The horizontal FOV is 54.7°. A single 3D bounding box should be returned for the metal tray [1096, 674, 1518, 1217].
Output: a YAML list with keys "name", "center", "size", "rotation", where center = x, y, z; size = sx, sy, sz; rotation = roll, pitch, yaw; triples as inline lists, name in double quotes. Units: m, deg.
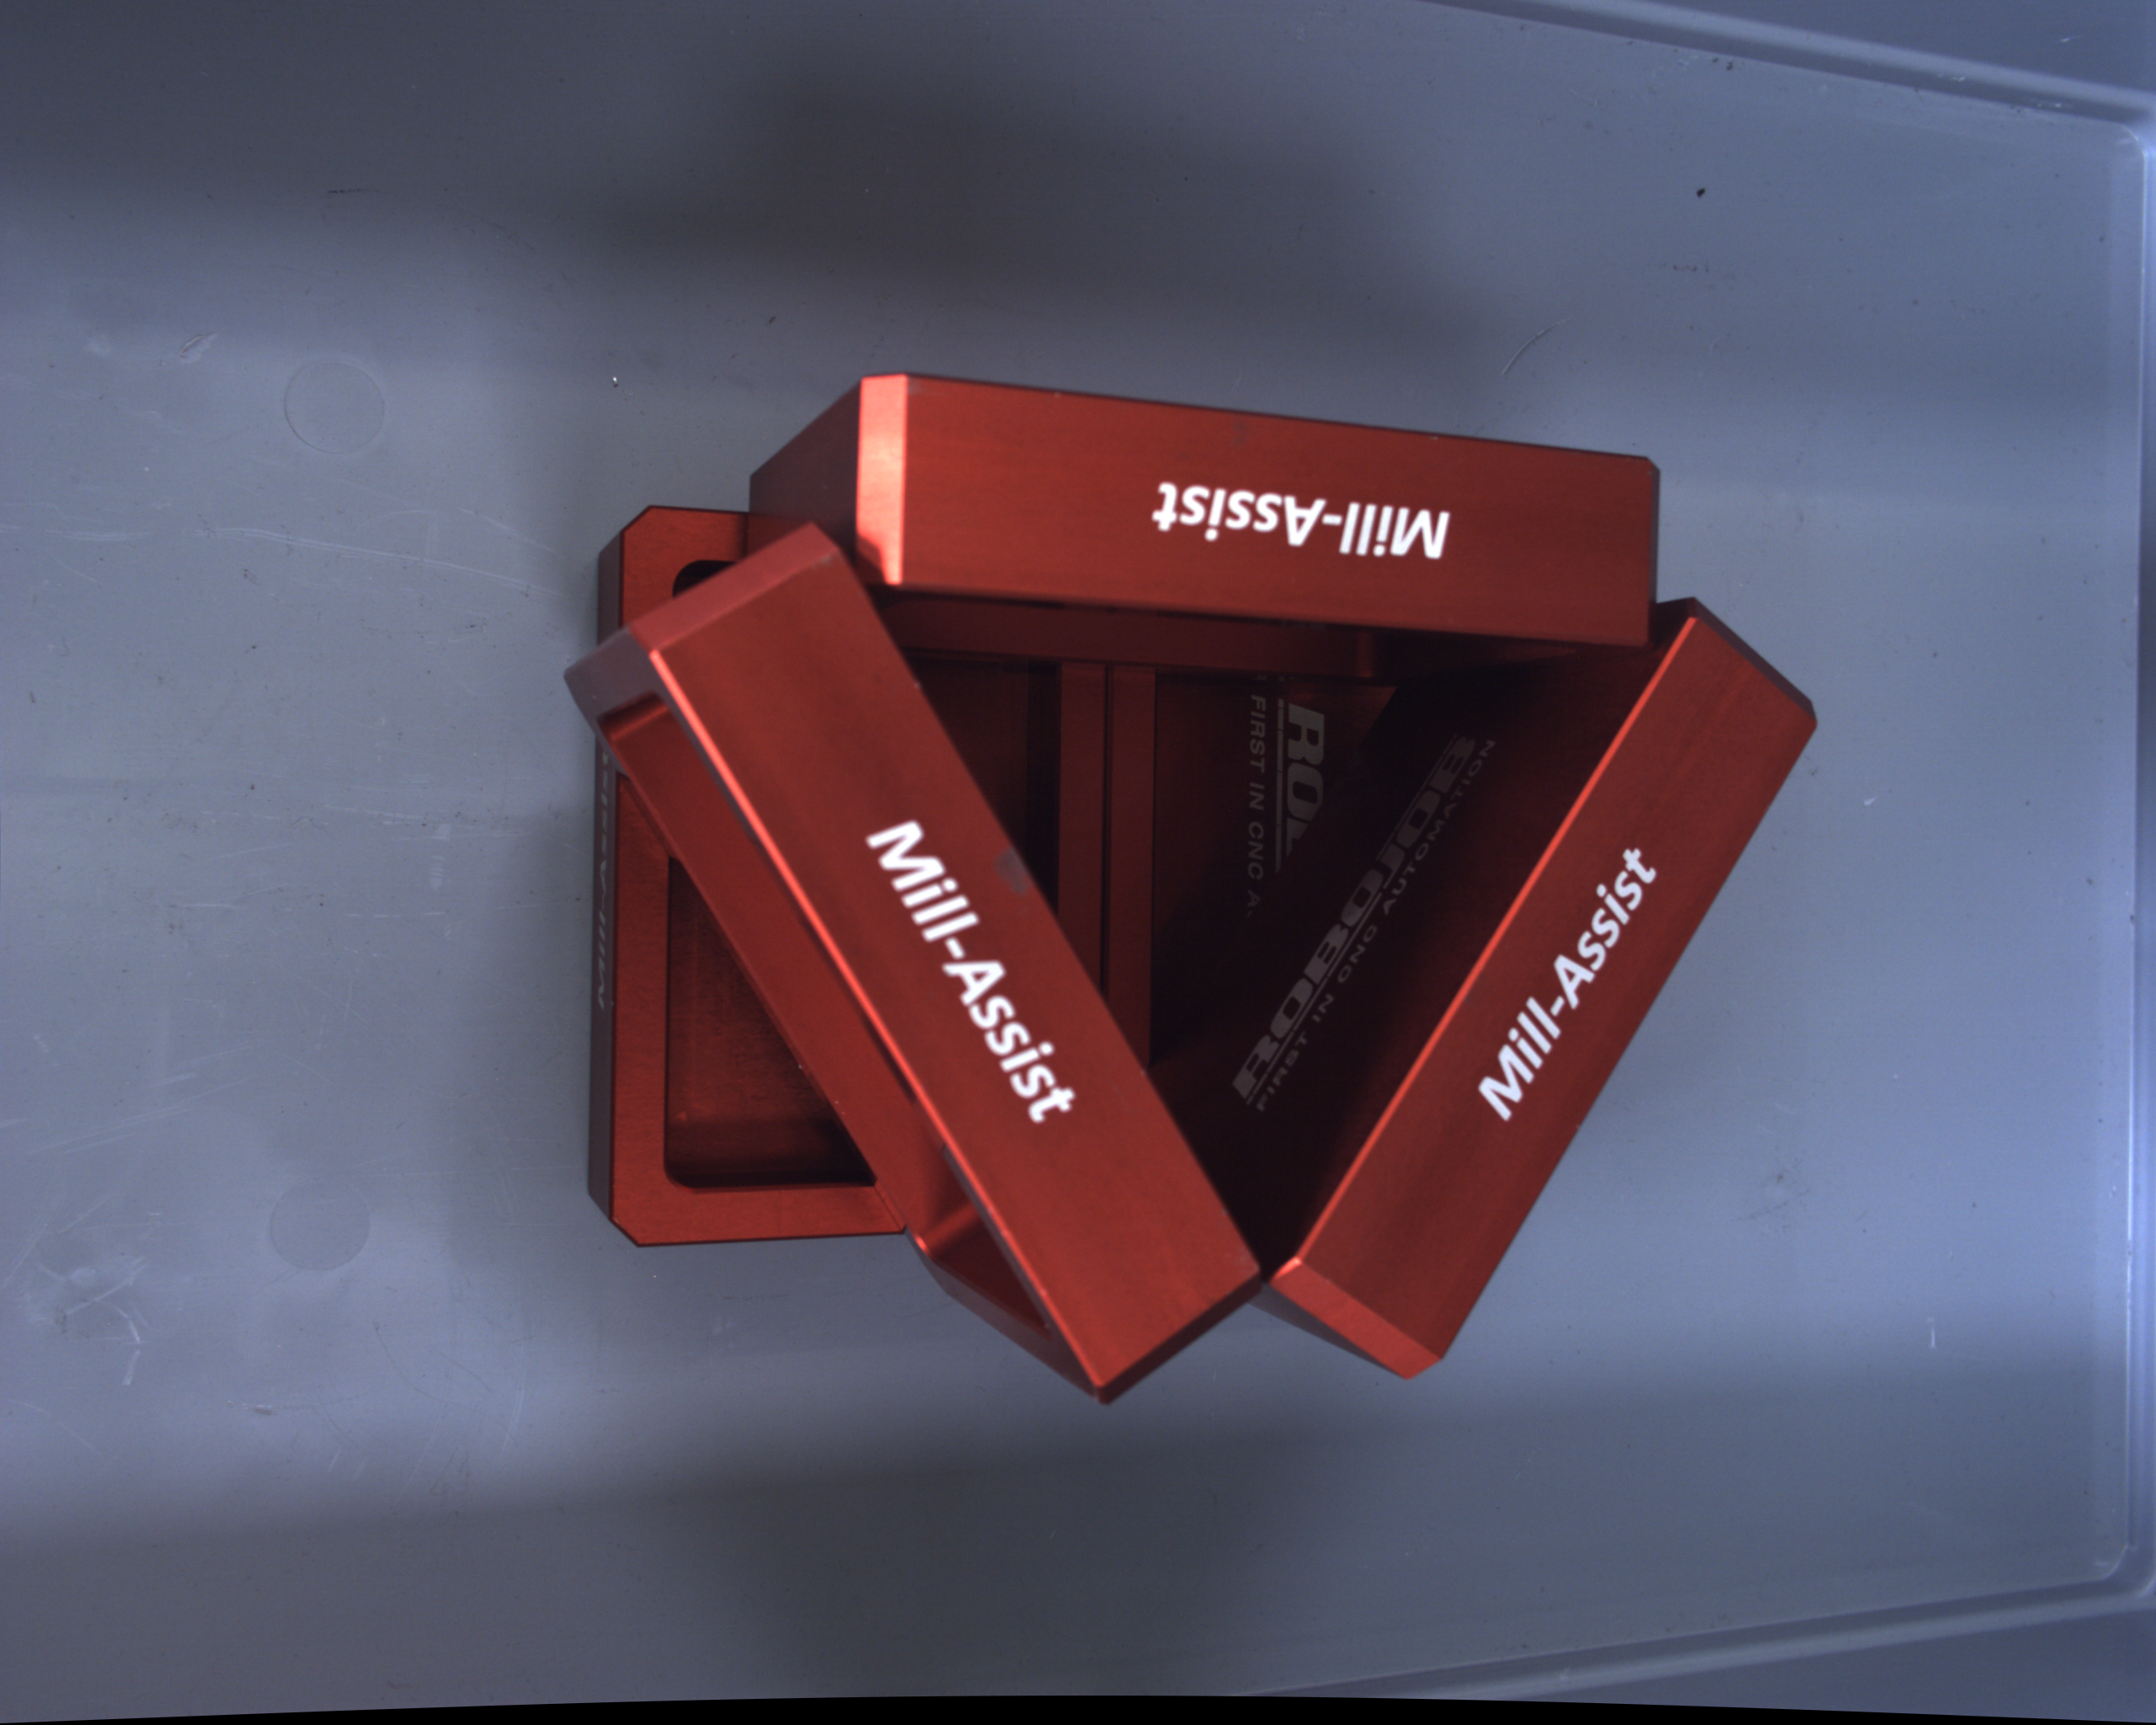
- name: "metal tray"
  center: [0.043, 0.005, 0.422]
  size: [0.091, 0.030, 0.129]
  rotation: [1, 89, -20]

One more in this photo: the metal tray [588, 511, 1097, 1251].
- name: "metal tray"
  center: [-0.044, 0.003, 0.391]
  size: [0.091, 0.030, 0.129]
  rotation: [0, 89, -20]

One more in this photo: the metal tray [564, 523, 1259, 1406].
- name: "metal tray"
  center: [-0.030, 0.016, 0.331]
  size: [0.030, 0.090, 0.130]
  rotation: [-33, 101, -16]

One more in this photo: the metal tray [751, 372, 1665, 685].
- name: "metal tray"
  center: [0.018, -0.051, 0.348]
  size: [0.131, 0.090, 0.030]
  rotation: [2, 90, -20]

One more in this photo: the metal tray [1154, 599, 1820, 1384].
- name: "metal tray"
  center: [0.061, 0.018, 0.364]
  size: [0.030, 0.090, 0.130]
  rotation: [37, 79, -16]
